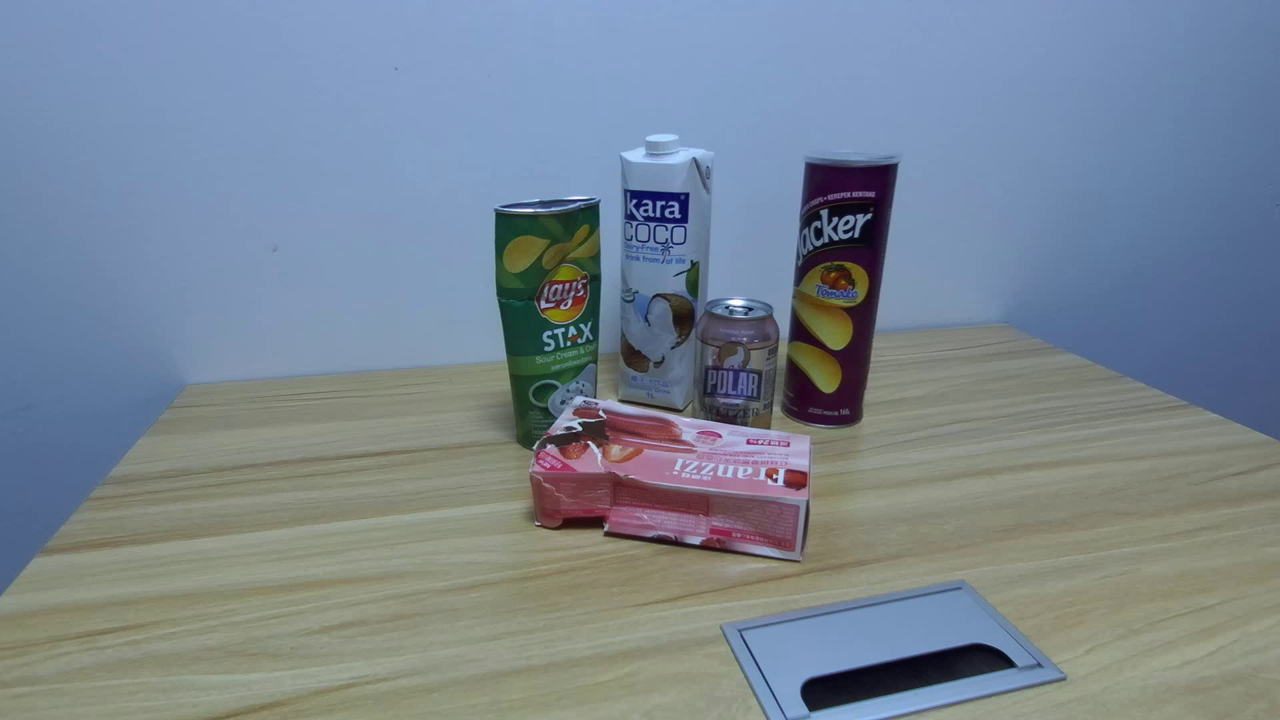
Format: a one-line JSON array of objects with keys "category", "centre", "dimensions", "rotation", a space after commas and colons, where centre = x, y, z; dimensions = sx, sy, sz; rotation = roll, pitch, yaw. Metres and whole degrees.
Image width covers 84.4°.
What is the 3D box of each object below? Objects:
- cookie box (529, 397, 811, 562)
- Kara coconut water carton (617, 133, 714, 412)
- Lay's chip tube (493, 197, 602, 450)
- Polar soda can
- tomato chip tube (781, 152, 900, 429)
[{"category": "cookie box", "centre": [0.026, 0.078, 0.501], "dimensions": [0.185, 0.059, 0.105], "rotation": [6, 24, 10]}, {"category": "Kara coconut water carton", "centre": [0.023, -0.079, 0.651], "dimensions": [0.077, 0.245, 0.075], "rotation": [9, 21, 22]}, {"category": "Lay's chip tube", "centre": [-0.071, -0.028, 0.580], "dimensions": [0.069, 0.199, 0.075], "rotation": [5, 22, 10]}, {"category": "Polar soda can", "centre": [0.078, 0.014, 0.578], "dimensions": [0.067, 0.125, 0.067], "rotation": [1, 21, 0]}, {"category": "tomato chip tube", "centre": [0.175, -0.060, 0.628], "dimensions": [0.078, 0.234, 0.078], "rotation": [1, 20, 0]}]
